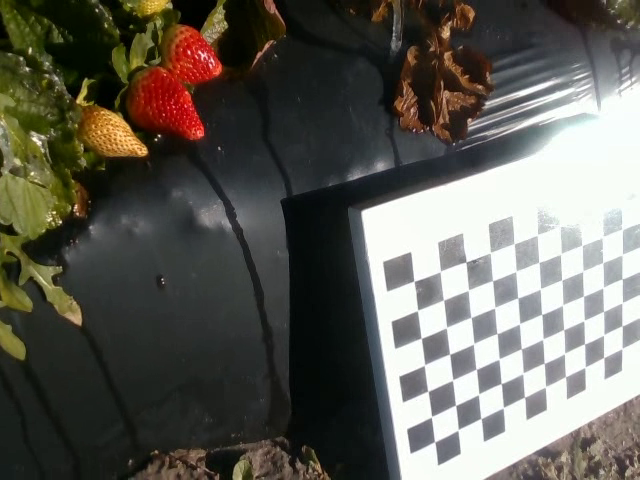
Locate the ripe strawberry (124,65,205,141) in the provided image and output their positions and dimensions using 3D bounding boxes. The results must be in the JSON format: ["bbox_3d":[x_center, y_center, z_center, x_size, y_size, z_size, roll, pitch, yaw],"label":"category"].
[{"bbox_3d":[-0.082,-0.072,0.357,0.052,0.036,0.040,35,-6,7],"label":"ripe strawberry"}]

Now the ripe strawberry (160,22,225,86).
[{"bbox_3d":[-0.074,-0.108,0.372,0.041,0.036,0.030,12,8,-24],"label":"ripe strawberry"}]
